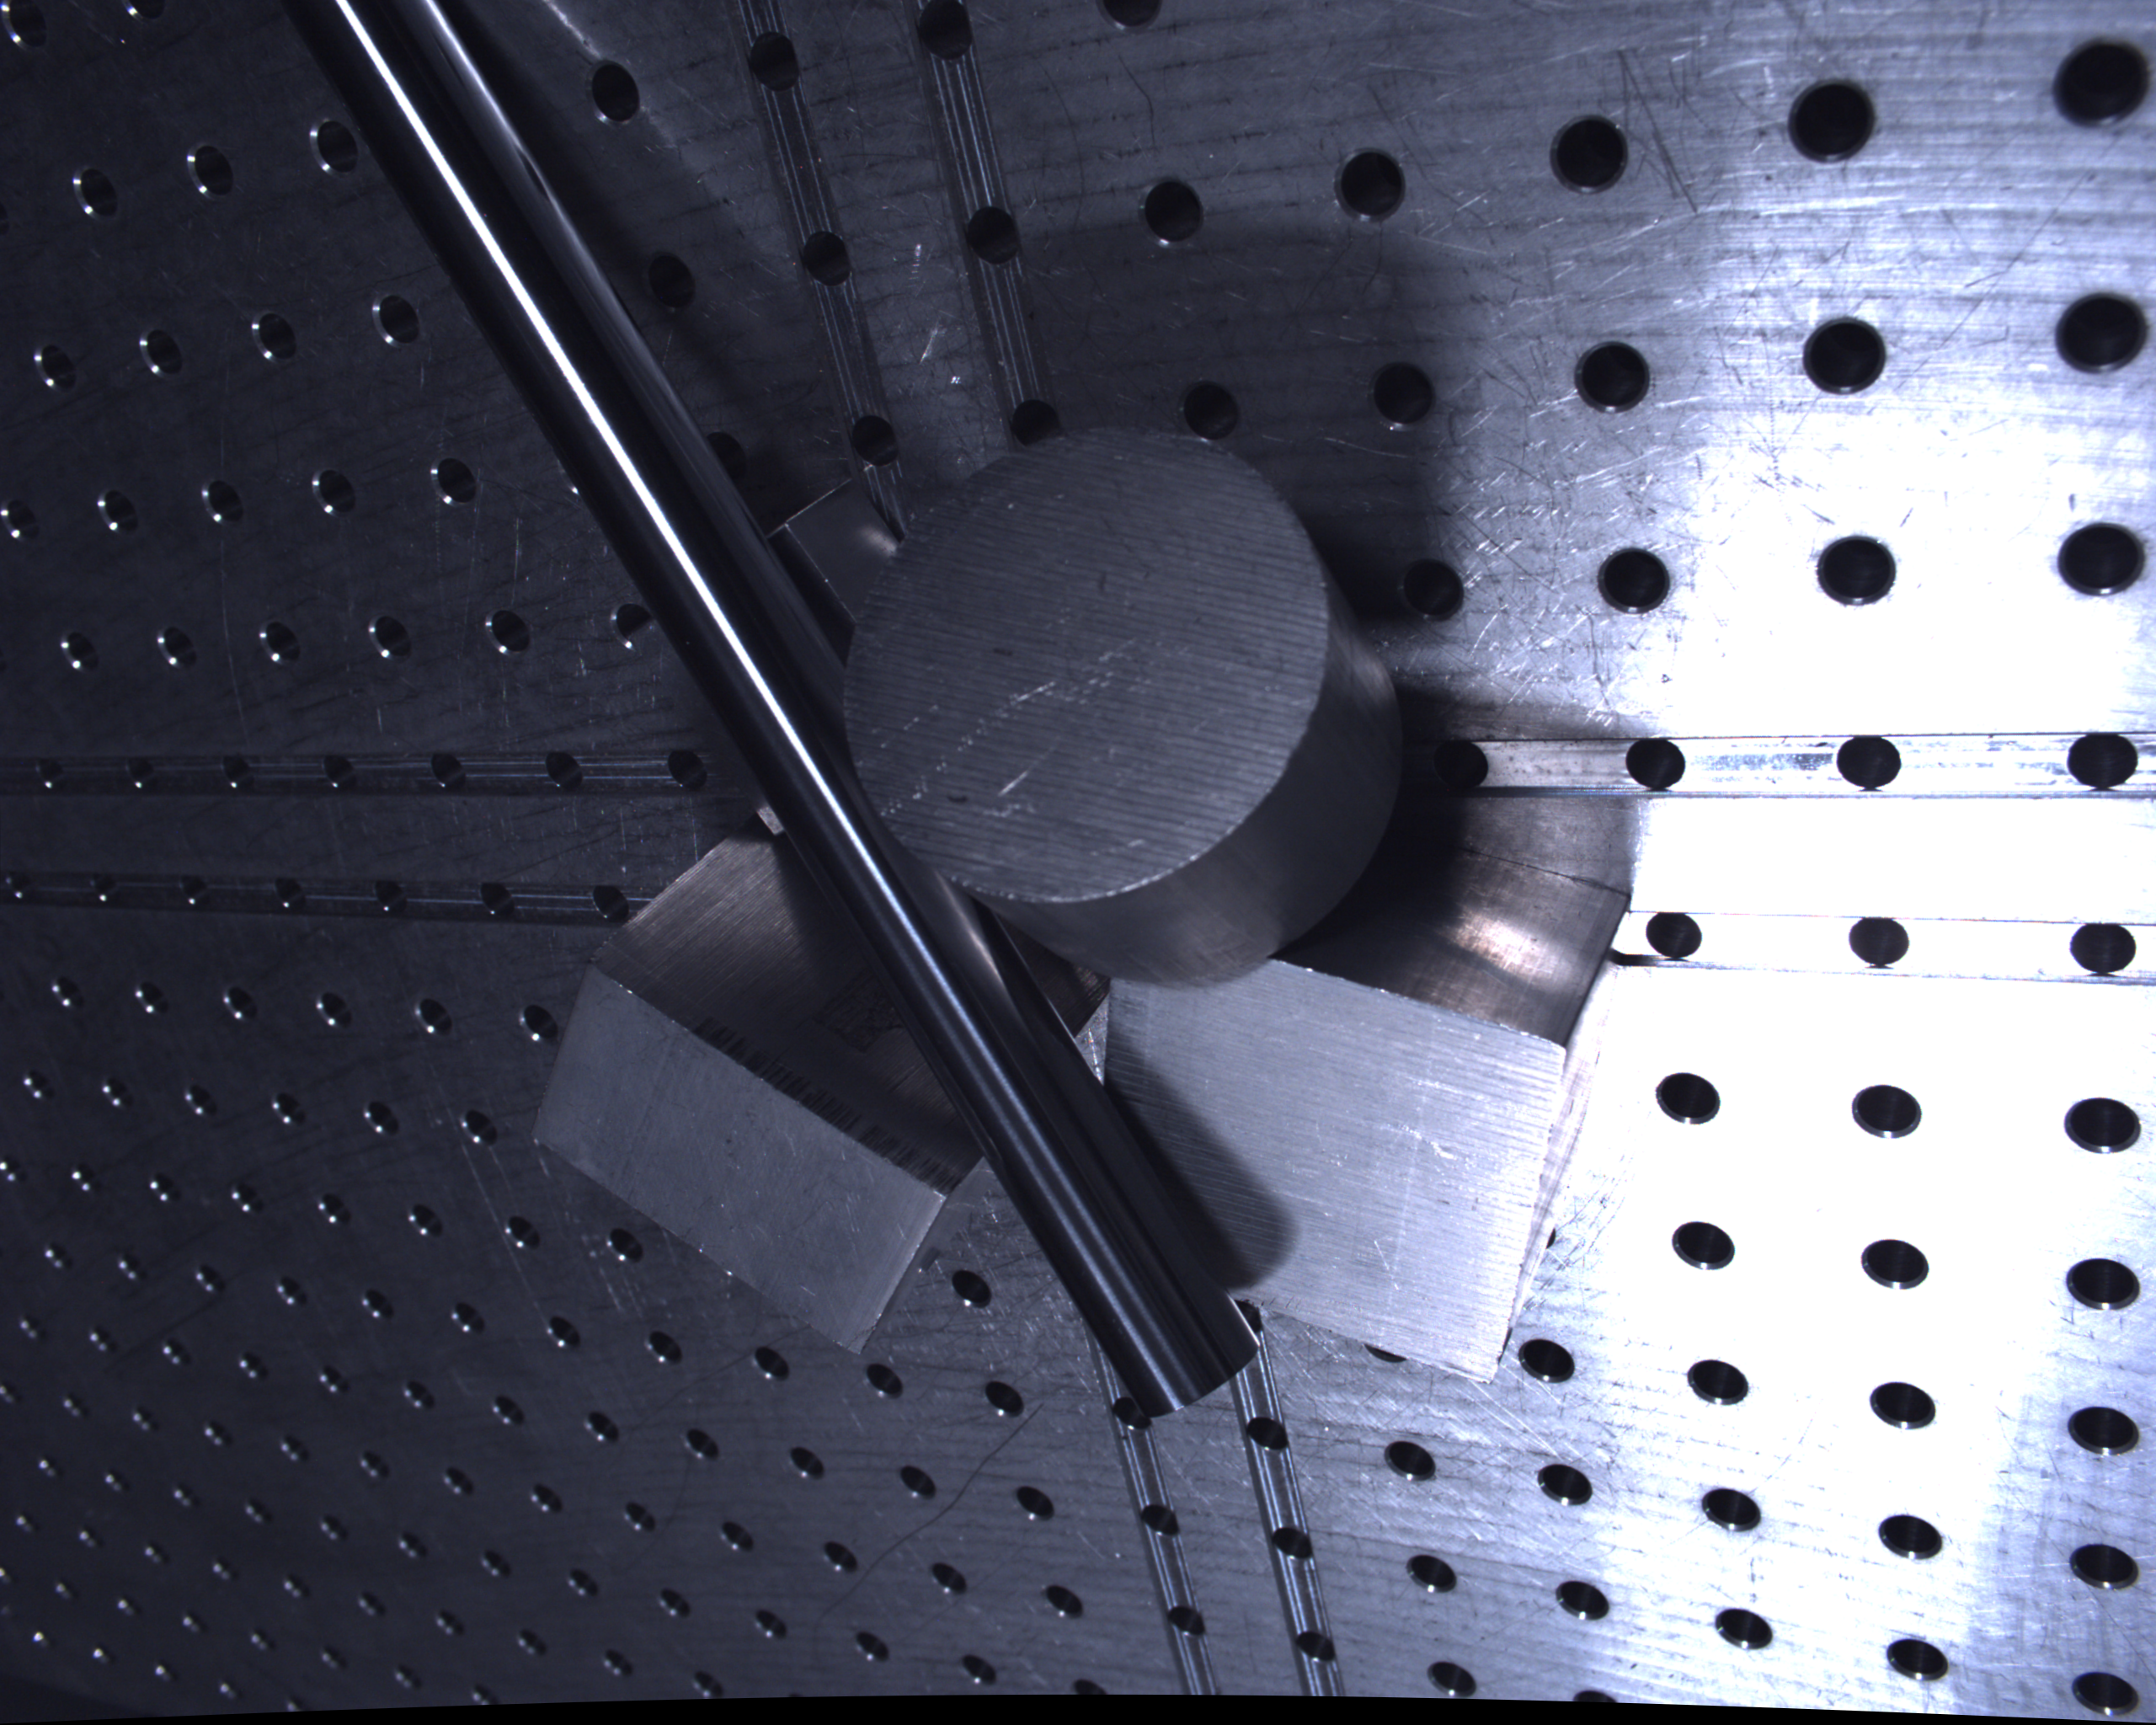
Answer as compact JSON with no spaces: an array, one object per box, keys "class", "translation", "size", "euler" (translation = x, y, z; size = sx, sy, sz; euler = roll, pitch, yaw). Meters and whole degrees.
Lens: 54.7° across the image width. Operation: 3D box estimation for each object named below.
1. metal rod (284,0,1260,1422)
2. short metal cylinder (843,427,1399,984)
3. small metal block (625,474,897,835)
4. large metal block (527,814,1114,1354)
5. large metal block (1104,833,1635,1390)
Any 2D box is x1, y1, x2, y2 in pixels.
[{"class":"metal rod","translation":[-0.055,-0.033,0.379],"size":[0.025,0.025,0.299],"euler":[-31,90,37]},{"class":"short metal cylinder","translation":[0.009,-0.025,0.346],"size":[0.080,0.080,0.050],"euler":[8,166,23]},{"class":"small metal block","translation":[-0.052,-0.040,0.413],"size":[0.050,0.025,0.050],"euler":[-27,104,37]},{"class":"large metal block","translation":[-0.049,0.037,0.422],"size":[0.080,0.080,0.050],"euler":[32,128,7]},{"class":"large metal block","translation":[0.051,0.041,0.391],"size":[0.080,0.050,0.079],"euler":[16,125,18]}]
